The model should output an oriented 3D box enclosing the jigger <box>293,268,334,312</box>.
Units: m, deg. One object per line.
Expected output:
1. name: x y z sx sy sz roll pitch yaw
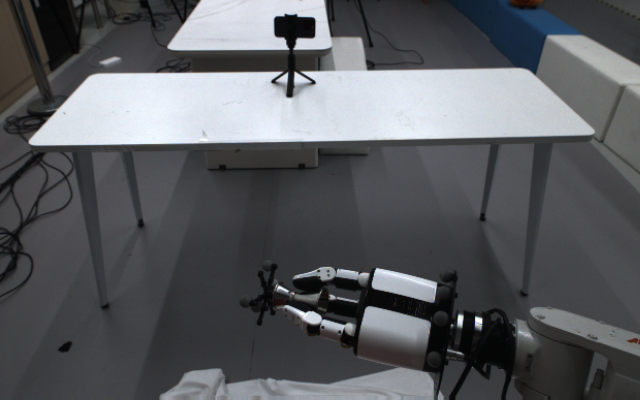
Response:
1. jigger: -0.019 0.129 0.664 0.071 0.043 0.043 4 34 21
